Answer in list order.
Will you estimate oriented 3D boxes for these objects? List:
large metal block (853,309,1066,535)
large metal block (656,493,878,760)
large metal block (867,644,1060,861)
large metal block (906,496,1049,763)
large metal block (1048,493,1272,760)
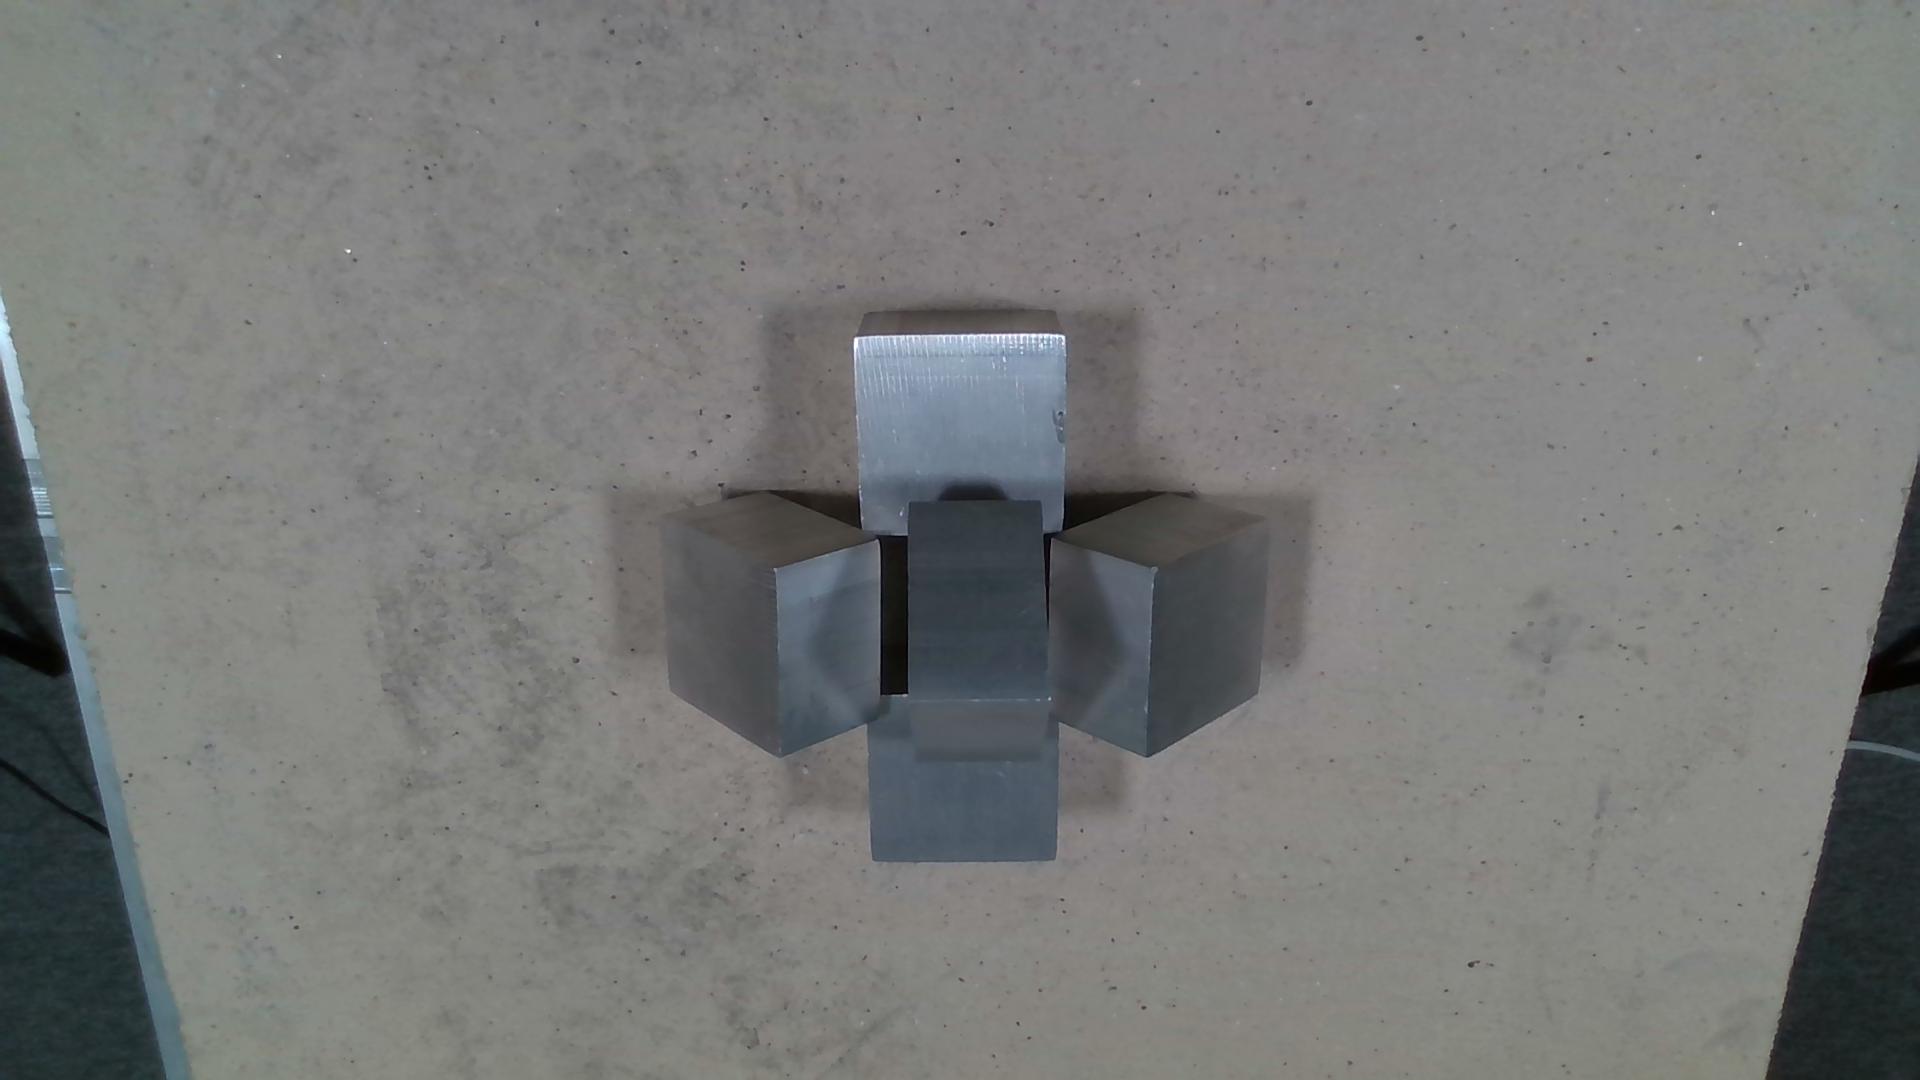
[{"bbox_3d":[0.000,-0.048,0.553,0.080,0.050,0.080,-1,110,0],"label":"large metal block"},{"bbox_3d":[-0.079,0.032,0.561,0.050,0.080,0.080,-16,116,-41],"label":"large metal block"},{"bbox_3d":[0.001,0.092,0.603,0.080,0.050,0.080,0,110,0],"label":"large metal block"},{"bbox_3d":[0.006,0.037,0.534,0.050,0.080,0.080,-1,66,0],"label":"large metal block"},{"bbox_3d":[0.081,0.032,0.561,0.050,0.080,0.080,18,117,41],"label":"large metal block"}]
